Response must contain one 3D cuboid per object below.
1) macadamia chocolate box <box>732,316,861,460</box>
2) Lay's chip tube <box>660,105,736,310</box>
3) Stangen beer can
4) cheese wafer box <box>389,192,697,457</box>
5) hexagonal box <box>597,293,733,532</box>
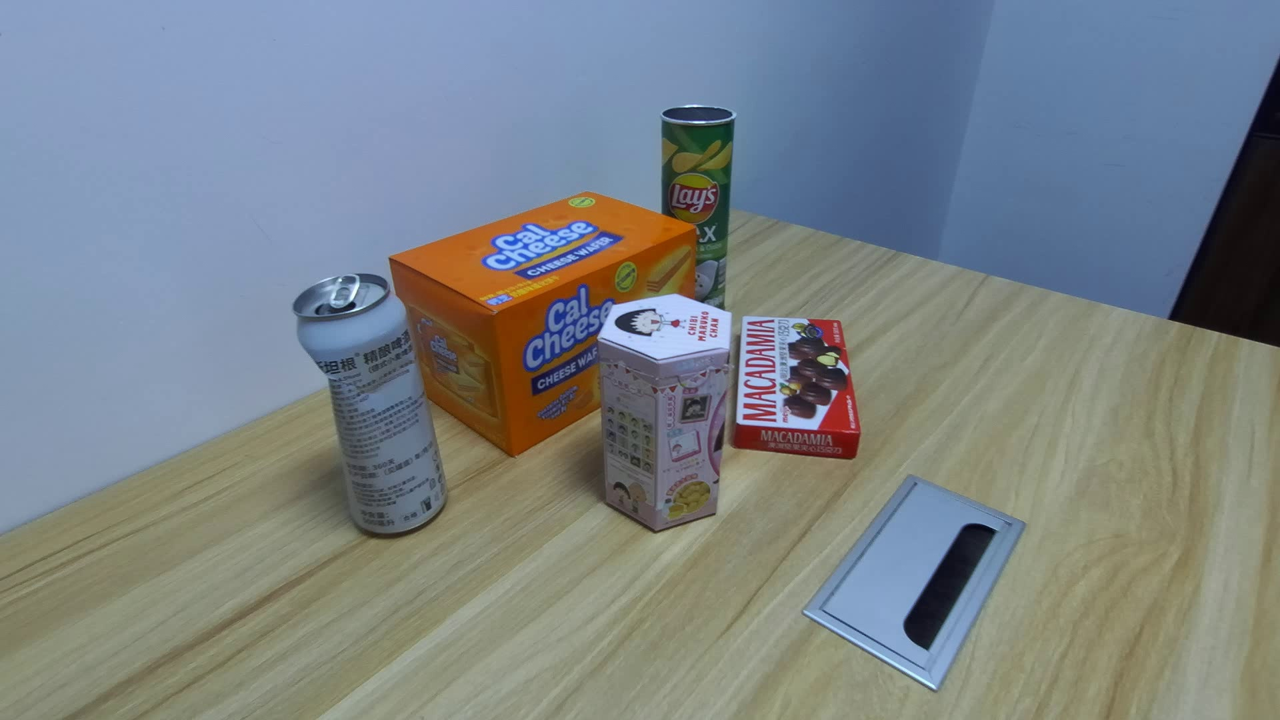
[{"bbox_3d":[0.132,0.016,0.609,0.095,0.027,0.178,4,32,9],"label":"macadamia chocolate box"},{"bbox_3d":[0.056,-0.140,0.696,0.071,0.203,0.071,-1,31,1],"label":"Lay's chip tube"},{"bbox_3d":[-0.172,0.031,0.453,0.069,0.173,0.070,13,33,25],"label":"Stangen beer can"},{"bbox_3d":[-0.074,-0.045,0.618,0.147,0.129,0.222,26,41,36],"label":"cheese wafer box"},{"bbox_3d":[0.019,0.035,0.473,0.084,0.136,0.091,3,32,7],"label":"hexagonal box"}]
